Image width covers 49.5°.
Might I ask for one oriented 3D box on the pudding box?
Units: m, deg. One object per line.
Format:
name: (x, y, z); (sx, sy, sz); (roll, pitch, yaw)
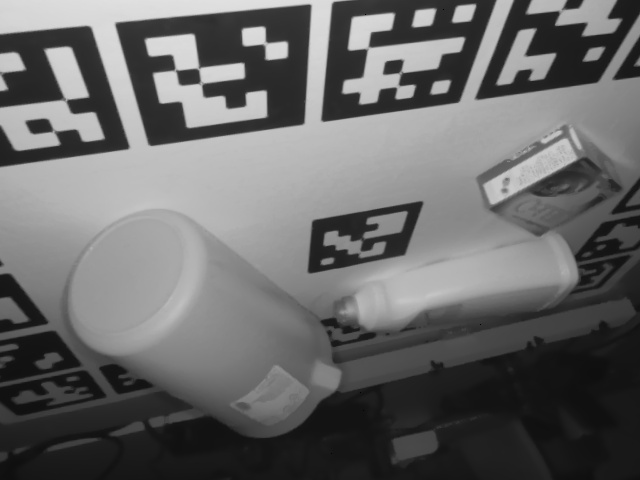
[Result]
pudding box: (0.207, -0.041, 0.614); (0.088, 0.039, 0.115); (-31, 142, 31)

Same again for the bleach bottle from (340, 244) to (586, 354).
bleach bottle: (0.146, 0.073, 0.742); (0.252, 0.068, 0.102); (-10, 142, -6)

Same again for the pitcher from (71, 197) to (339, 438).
pitcher: (-0.103, 0.069, 0.602); (0.186, 0.134, 0.243); (7, 152, 31)
